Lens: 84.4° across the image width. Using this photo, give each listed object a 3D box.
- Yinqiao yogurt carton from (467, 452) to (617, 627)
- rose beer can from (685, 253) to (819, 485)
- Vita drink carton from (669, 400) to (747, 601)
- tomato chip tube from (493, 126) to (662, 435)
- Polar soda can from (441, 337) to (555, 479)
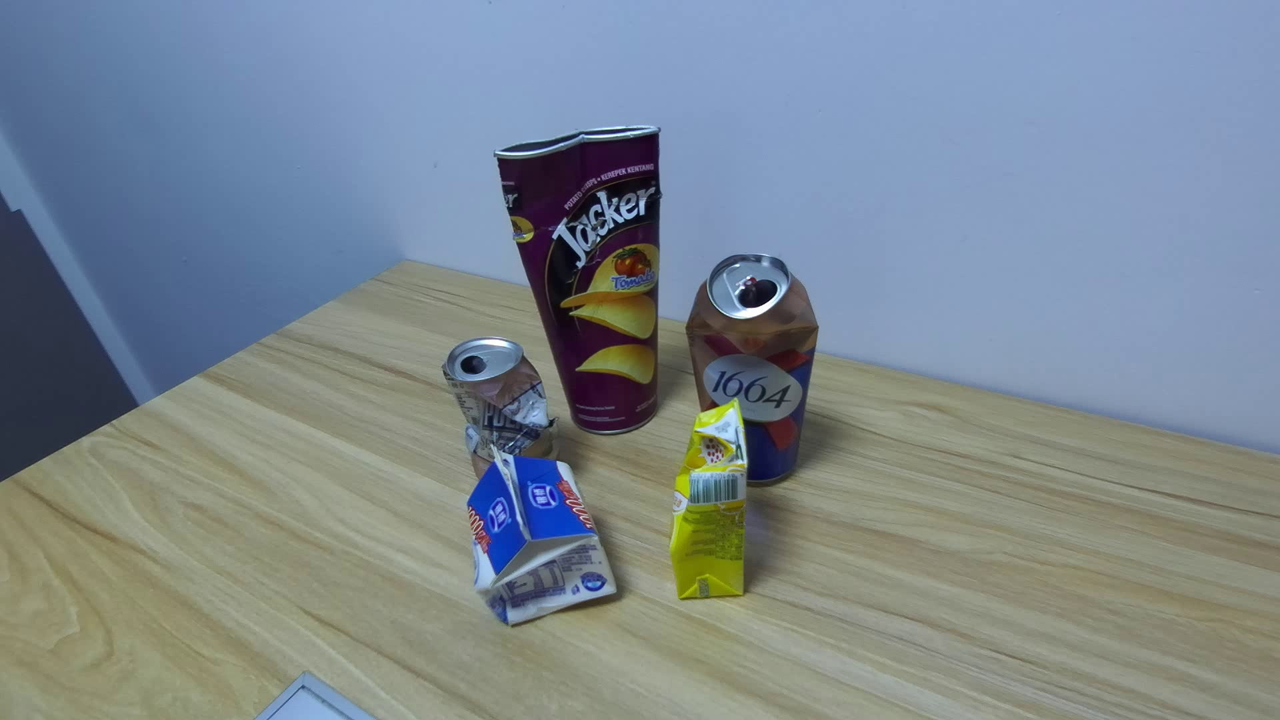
[{"bbox_3d":[-0.070,0.106,0.434,0.080,0.097,0.074,-23,35,-9],"label":"Yinqiao yogurt carton"},{"bbox_3d":[0.077,0.011,0.487,0.069,0.168,0.069,-17,39,-15],"label":"rose beer can"},{"bbox_3d":[0.040,0.085,0.432,0.046,0.110,0.071,-3,33,3],"label":"Vita drink carton"},{"bbox_3d":[-0.034,-0.054,0.543,0.090,0.236,0.078,17,41,28],"label":"tomato chip tube"},{"bbox_3d":[-0.100,0.041,0.524,0.074,0.114,0.070,-12,38,-2],"label":"Polar soda can"}]
